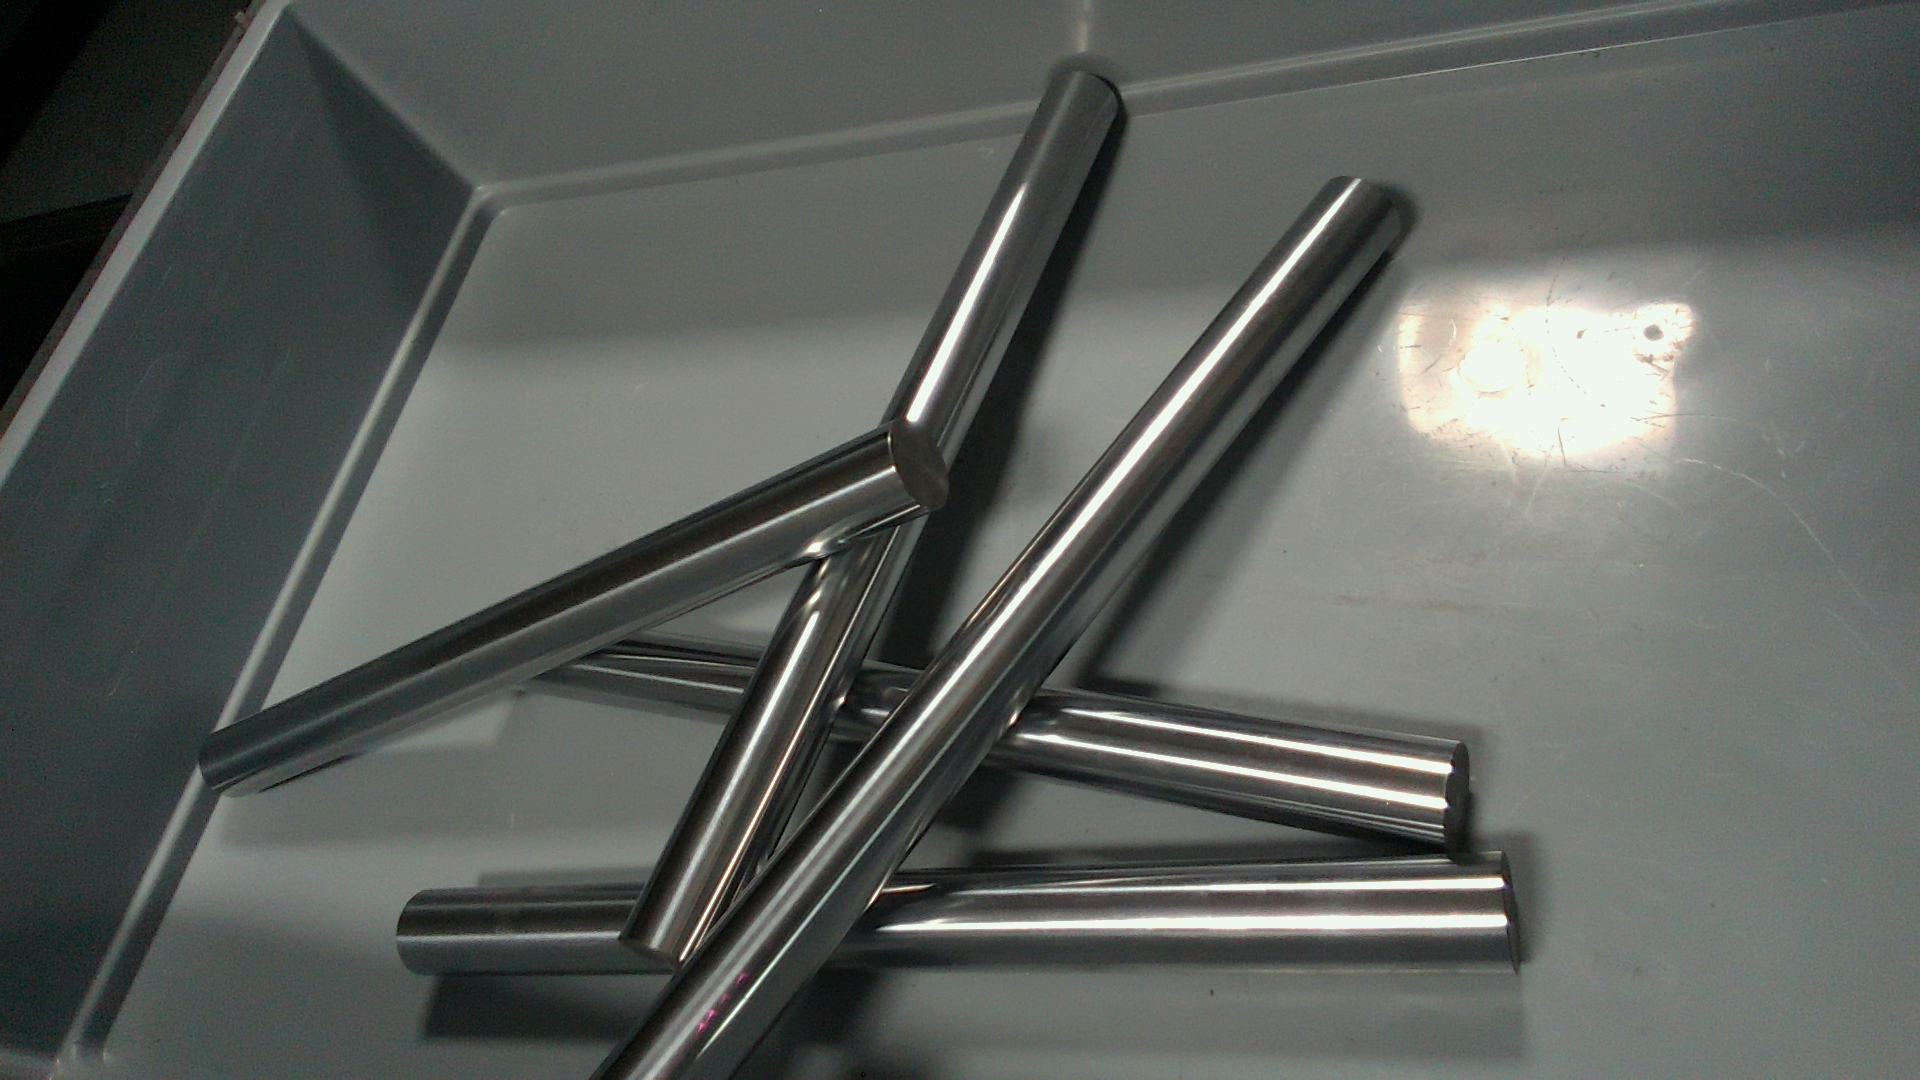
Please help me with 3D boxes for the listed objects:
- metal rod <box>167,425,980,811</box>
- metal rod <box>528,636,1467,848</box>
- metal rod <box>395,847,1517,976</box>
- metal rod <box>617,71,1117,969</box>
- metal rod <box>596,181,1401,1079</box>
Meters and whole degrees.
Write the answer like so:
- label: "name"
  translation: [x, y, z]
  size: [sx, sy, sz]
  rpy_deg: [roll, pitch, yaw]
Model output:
- label: "metal rod"
  translation: [-0.130, 0.031, 0.411]
  size: [0.299, 0.025, 0.025]
  rpy_deg: [-21, 53, 23]
- label: "metal rod"
  translation: [-0.021, 0.046, 0.375]
  size: [0.299, 0.025, 0.025]
  rpy_deg: [5, 64, 31]
- label: "metal rod"
  translation: [-0.022, 0.096, 0.345]
  size: [0.299, 0.025, 0.025]
  rpy_deg: [-8, 58, 24]
- label: "metal rod"
  translation: [-0.015, -0.024, 0.393]
  size: [0.025, 0.025, 0.300]
  rpy_deg: [7, 58, 31]
- label: "metal rod"
  translation: [0.021, 0.018, 0.344]
  size: [0.025, 0.025, 0.300]
  rpy_deg: [27, 68, 37]
